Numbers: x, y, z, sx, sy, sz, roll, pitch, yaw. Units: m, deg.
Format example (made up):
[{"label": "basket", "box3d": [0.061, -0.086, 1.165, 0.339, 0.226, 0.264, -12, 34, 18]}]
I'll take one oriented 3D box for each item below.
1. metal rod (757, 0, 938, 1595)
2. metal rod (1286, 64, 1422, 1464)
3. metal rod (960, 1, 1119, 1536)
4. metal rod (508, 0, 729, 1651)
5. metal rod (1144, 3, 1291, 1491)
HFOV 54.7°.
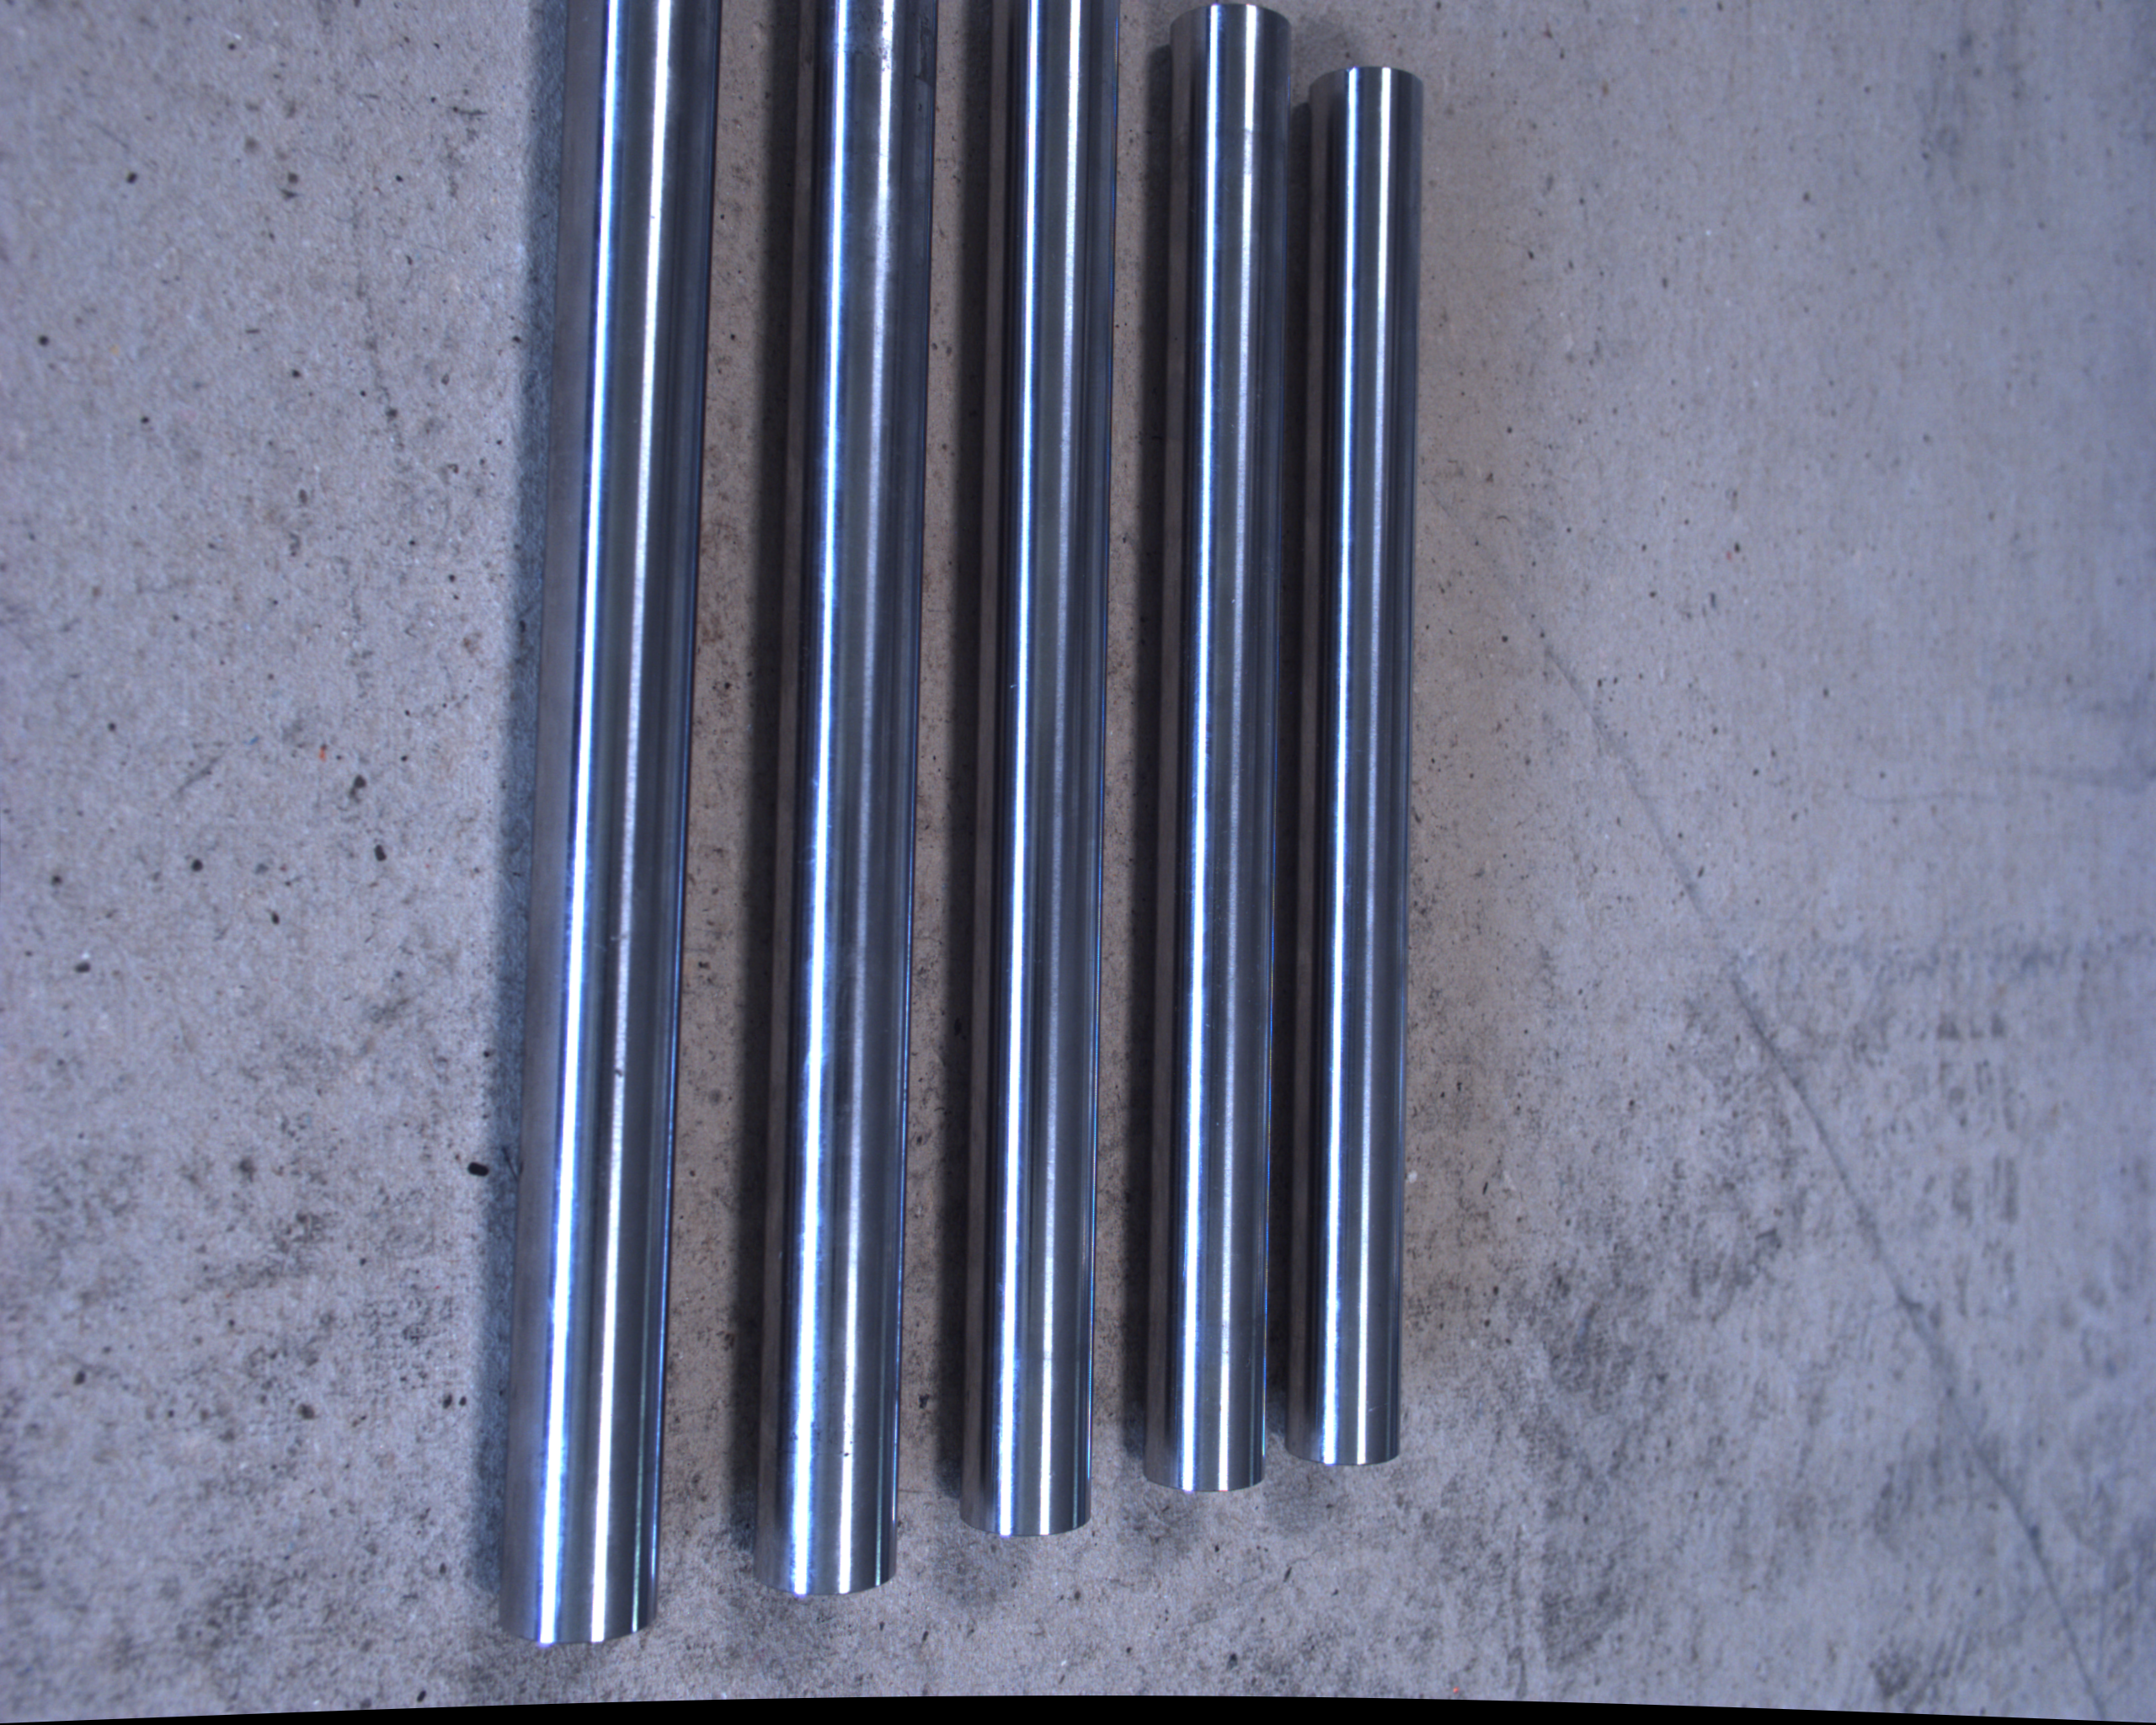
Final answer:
[{"label": "metal rod", "box3d": [-0.041, -0.024, 0.372, 0.025, 0.025, 0.298, 2, 89, -40]}, {"label": "metal rod", "box3d": [0.060, -0.022, 0.456, 0.025, 0.025, 0.298, 2, 89, -40]}, {"label": "metal rod", "box3d": [-0.007, -0.025, 0.400, 0.025, 0.025, 0.298, 2, 89, -40]}, {"label": "metal rod", "box3d": [-0.074, -0.026, 0.342, 0.025, 0.025, 0.298, 3, 88, -40]}, {"label": "metal rod", "box3d": [0.029, -0.024, 0.430, 0.025, 0.025, 0.298, 2, 89, -40]}]
